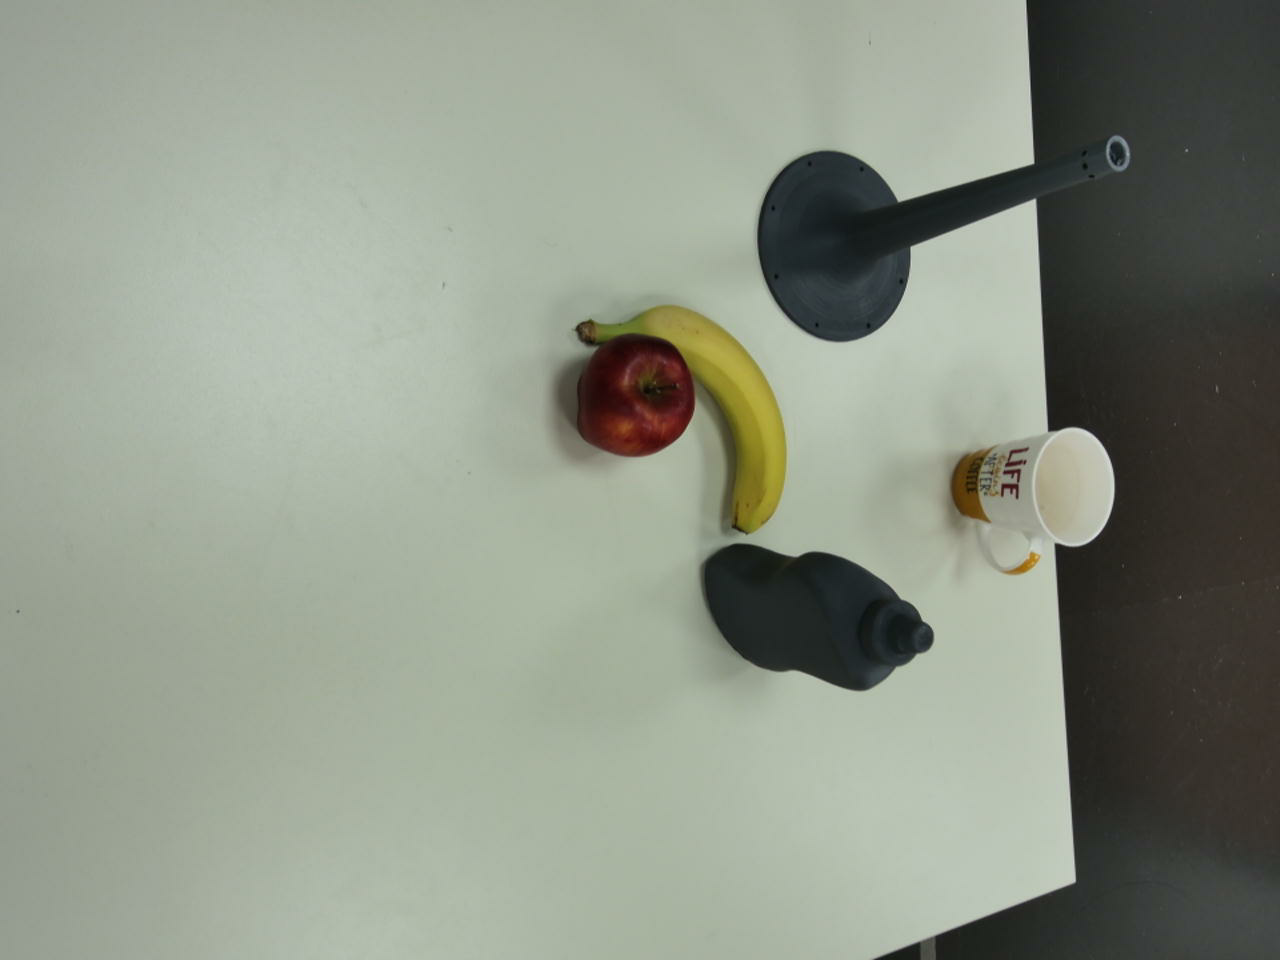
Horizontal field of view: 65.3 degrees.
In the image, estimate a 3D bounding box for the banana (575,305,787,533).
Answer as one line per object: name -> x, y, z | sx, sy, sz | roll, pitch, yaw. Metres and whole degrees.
banana -> 0.049, -0.060, 0.724 | 0.094, 0.041, 0.196 | -44, 109, -21
